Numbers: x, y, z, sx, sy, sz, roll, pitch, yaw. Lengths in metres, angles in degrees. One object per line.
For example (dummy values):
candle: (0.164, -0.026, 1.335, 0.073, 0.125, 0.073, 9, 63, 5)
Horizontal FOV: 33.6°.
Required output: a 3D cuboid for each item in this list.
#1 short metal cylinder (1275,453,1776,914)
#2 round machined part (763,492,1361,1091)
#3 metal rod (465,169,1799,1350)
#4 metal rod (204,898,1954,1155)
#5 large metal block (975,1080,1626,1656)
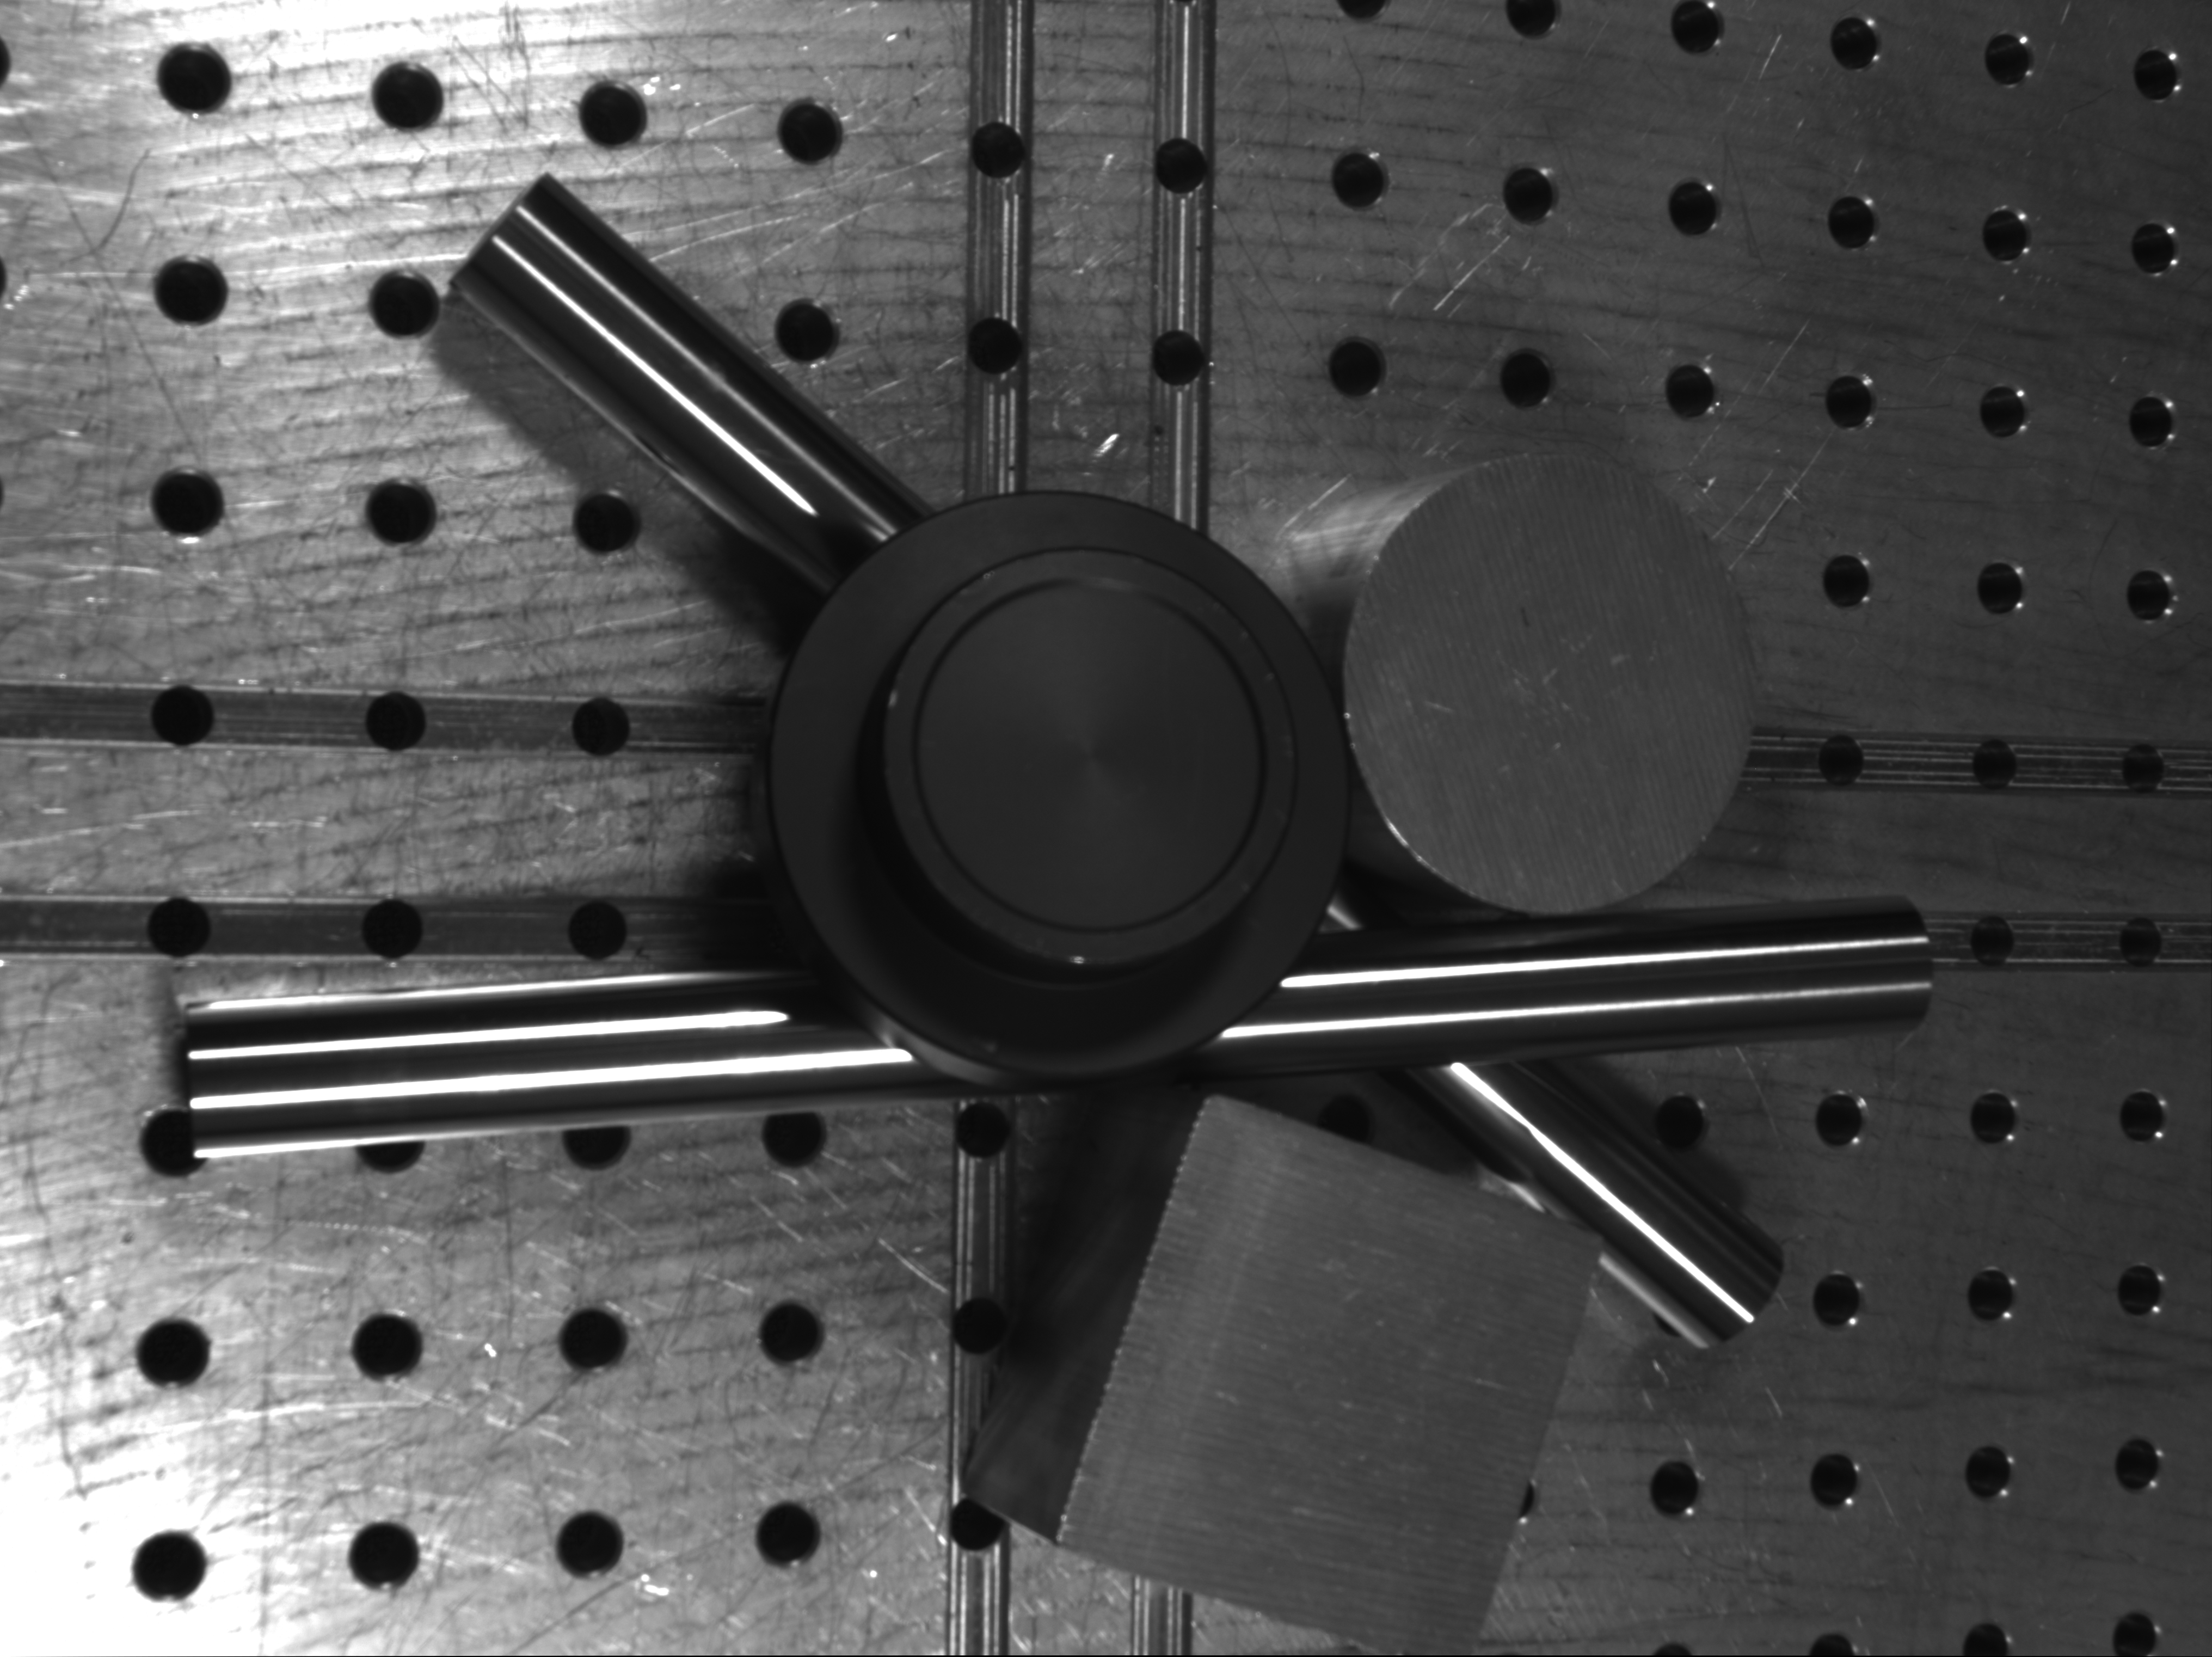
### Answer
short metal cylinder: (0.073, -0.025, 0.658, 0.080, 0.050, 0.080, 0, 90, -20)
round machined part: (-0.005, -0.008, 0.599, 0.098, 0.042, 0.098, 2, 81, -14)
metal rod: (0.011, -0.006, 0.650, 0.300, 0.025, 0.025, 41, 77, -15)
metal rod: (0.001, 0.033, 0.626, 0.300, 0.025, 0.025, -3, 91, -13)
large metal block: (0.034, 0.094, 0.642, 0.080, 0.050, 0.080, 21, 83, -19)
